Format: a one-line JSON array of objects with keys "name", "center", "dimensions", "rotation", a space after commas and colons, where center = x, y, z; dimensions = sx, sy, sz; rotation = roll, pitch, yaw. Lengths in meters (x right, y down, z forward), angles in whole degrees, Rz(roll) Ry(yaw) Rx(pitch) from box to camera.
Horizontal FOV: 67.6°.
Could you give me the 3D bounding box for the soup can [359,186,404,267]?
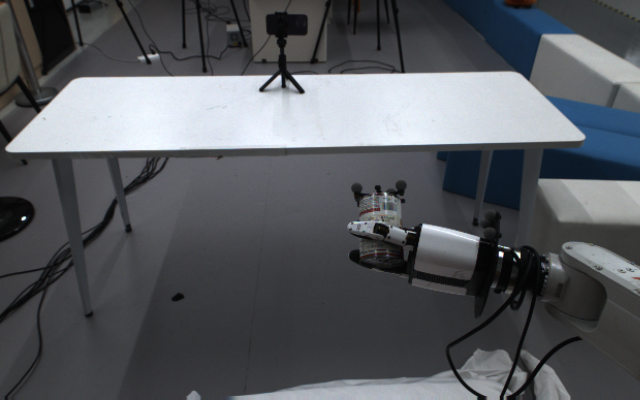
[{"name": "soup can", "center": [0.094, 0.047, 0.743], "dimensions": [0.067, 0.067, 0.101], "rotation": [2, 68, -1]}]
